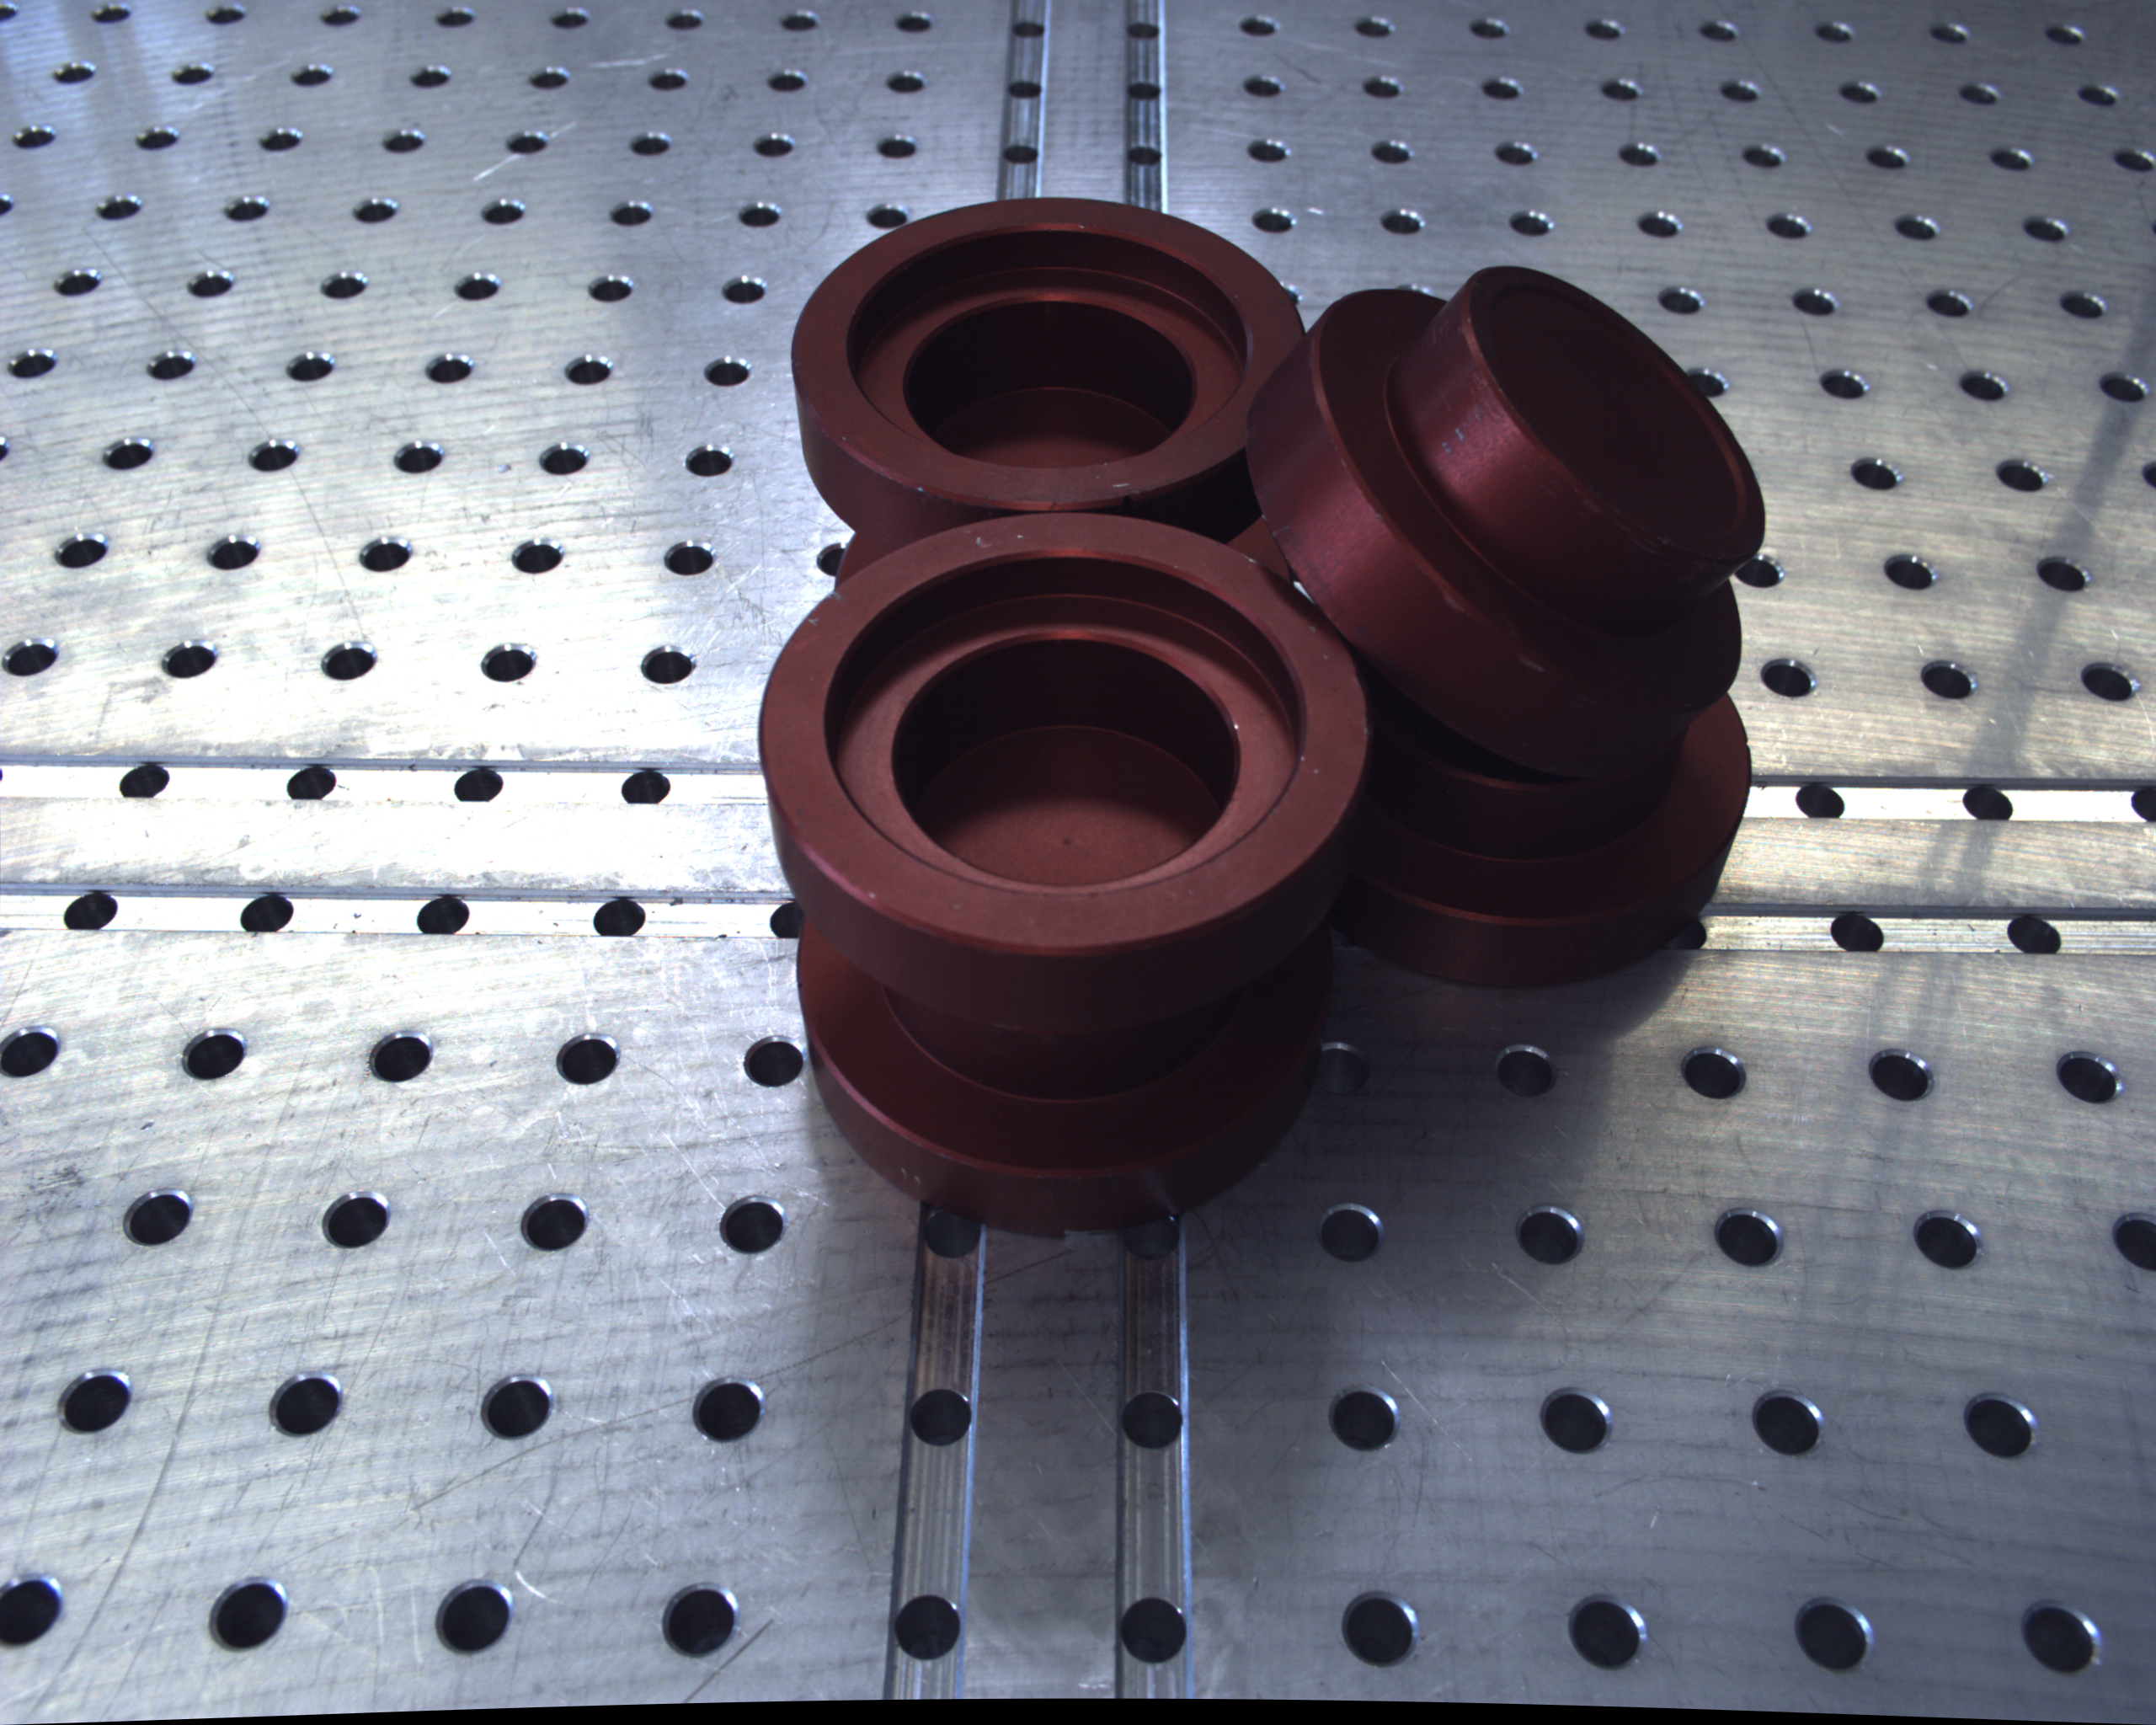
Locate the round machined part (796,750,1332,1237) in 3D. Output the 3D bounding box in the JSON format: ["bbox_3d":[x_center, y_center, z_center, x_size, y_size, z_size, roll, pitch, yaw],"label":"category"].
[{"bbox_3d":[-0.003,0.016,0.384,0.099,0.042,0.098,0,50,0],"label":"round machined part"}]

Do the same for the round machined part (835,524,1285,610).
[{"bbox_3d":[-0.003,-0.059,0.448,0.099,0.042,0.098,0,50,0],"label":"round machined part"}]

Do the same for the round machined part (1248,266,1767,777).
[{"bbox_3d":[0.082,-0.066,0.371,0.099,0.042,0.098,22,45,-24],"label":"round machined part"}]

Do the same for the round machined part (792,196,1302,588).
[{"bbox_3d":[-0.005,-0.087,0.415,0.099,0.042,0.098,0,50,0],"label":"round machined part"}]

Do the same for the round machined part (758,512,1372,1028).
[{"bbox_3d":[-0.002,-0.011,0.351,0.099,0.042,0.098,0,50,0],"label":"round machined part"}]

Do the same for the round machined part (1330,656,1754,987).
[{"bbox_3d":[0.086,-0.026,0.420,0.099,0.042,0.098,0,50,0],"label":"round machined part"}]
